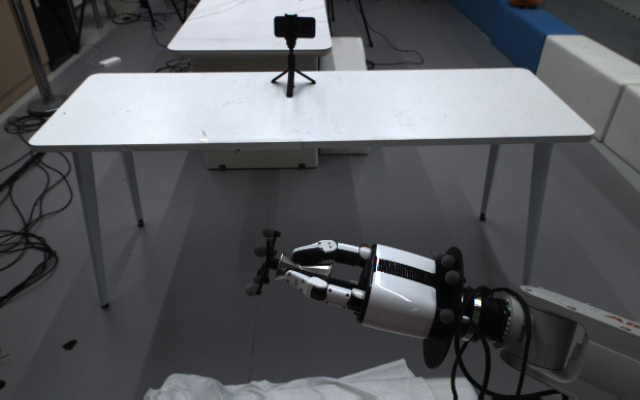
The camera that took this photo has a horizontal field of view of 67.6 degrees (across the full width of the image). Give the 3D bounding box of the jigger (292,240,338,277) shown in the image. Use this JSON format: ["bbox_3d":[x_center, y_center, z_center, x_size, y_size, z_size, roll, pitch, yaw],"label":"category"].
[{"bbox_3d":[-0.014,0.094,0.641,0.071,0.043,0.043,14,36,5],"label":"jigger"}]
